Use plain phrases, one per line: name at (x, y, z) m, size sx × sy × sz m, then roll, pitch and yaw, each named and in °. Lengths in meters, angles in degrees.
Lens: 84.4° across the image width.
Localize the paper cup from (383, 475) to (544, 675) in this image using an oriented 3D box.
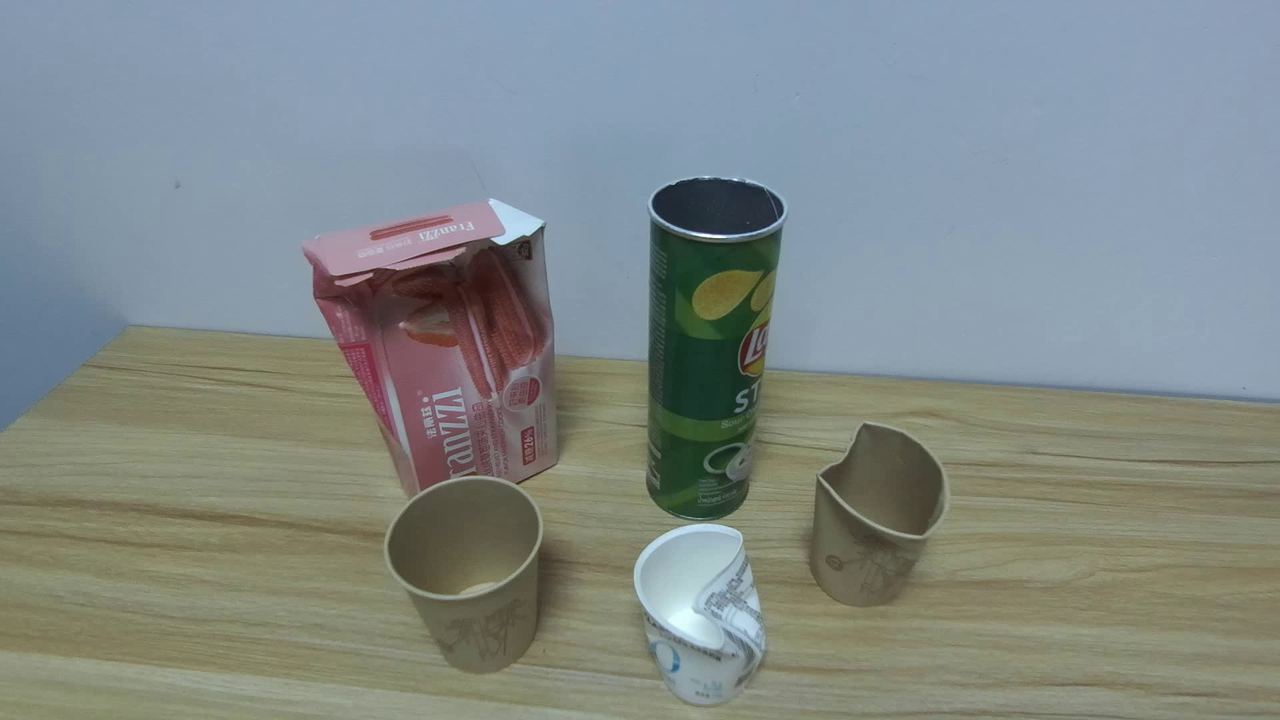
paper cup at (-0.084, 0.115, 0.362) m, size 0.075 × 0.082 × 0.075 m, roll 0°, pitch 38°, yaw 0°

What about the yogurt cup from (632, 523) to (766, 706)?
yogurt cup at (0.031, 0.130, 0.353) m, size 0.067 × 0.070 × 0.067 m, roll -1°, pitch 39°, yaw 1°

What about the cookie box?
cookie box at (-0.110, 0.007, 0.420) m, size 0.119 × 0.184 × 0.055 m, roll -20°, pitch 42°, yaw -23°

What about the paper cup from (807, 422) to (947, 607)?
paper cup at (0.131, 0.092, 0.393) m, size 0.066 × 0.084 × 0.072 m, roll 26°, pitch 45°, yaw 30°

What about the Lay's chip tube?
Lay's chip tube at (0.039, 0.001, 0.407) m, size 0.071 × 0.203 × 0.071 m, roll 0°, pitch 39°, yaw 0°
